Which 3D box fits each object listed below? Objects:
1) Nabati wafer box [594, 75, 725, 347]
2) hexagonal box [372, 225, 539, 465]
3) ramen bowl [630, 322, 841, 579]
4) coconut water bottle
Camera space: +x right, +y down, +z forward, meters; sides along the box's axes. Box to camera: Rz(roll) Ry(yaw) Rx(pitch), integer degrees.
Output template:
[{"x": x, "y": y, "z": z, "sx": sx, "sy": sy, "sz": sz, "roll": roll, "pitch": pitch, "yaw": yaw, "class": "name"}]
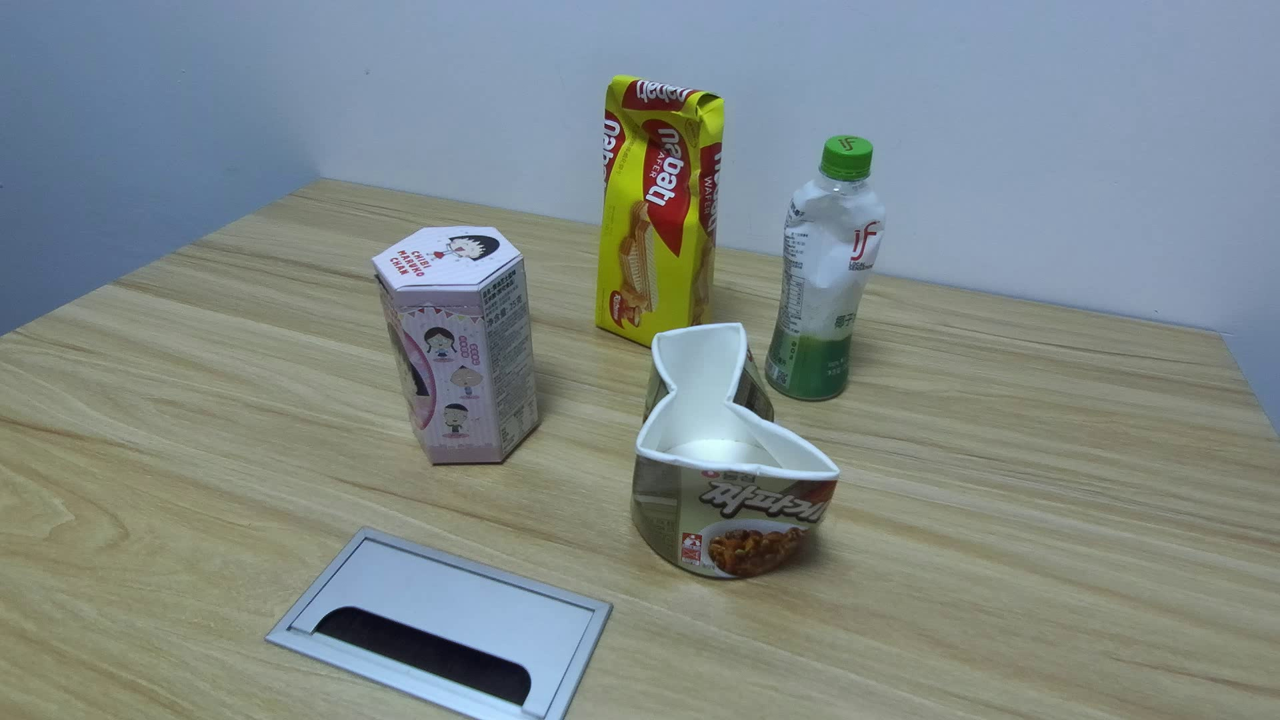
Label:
[{"x": 0.012, "y": -0.104, "z": 0.540, "sx": 0.113, "sy": 0.205, "sz": 0.043, "roll": 22, "pitch": 39, "yaw": 28, "class": "Nabati wafer box"}, {"x": -0.116, "y": -0.007, "z": 0.461, "sx": 0.084, "sy": 0.136, "sz": 0.091, "roll": -20, "pitch": 40, "yaw": -27, "class": "hexagonal box"}, {"x": 0.052, "y": 0.050, "z": 0.417, "sx": 0.111, "sy": 0.093, "sz": 0.128, "roll": 4, "pitch": 37, "yaw": 4, "class": "ramen bowl"}, {"x": 0.131, "y": -0.061, "z": 0.496, "sx": 0.069, "sy": 0.187, "sz": 0.069, "roll": 2, "pitch": 36, "yaw": -1, "class": "coconut water bottle"}]
